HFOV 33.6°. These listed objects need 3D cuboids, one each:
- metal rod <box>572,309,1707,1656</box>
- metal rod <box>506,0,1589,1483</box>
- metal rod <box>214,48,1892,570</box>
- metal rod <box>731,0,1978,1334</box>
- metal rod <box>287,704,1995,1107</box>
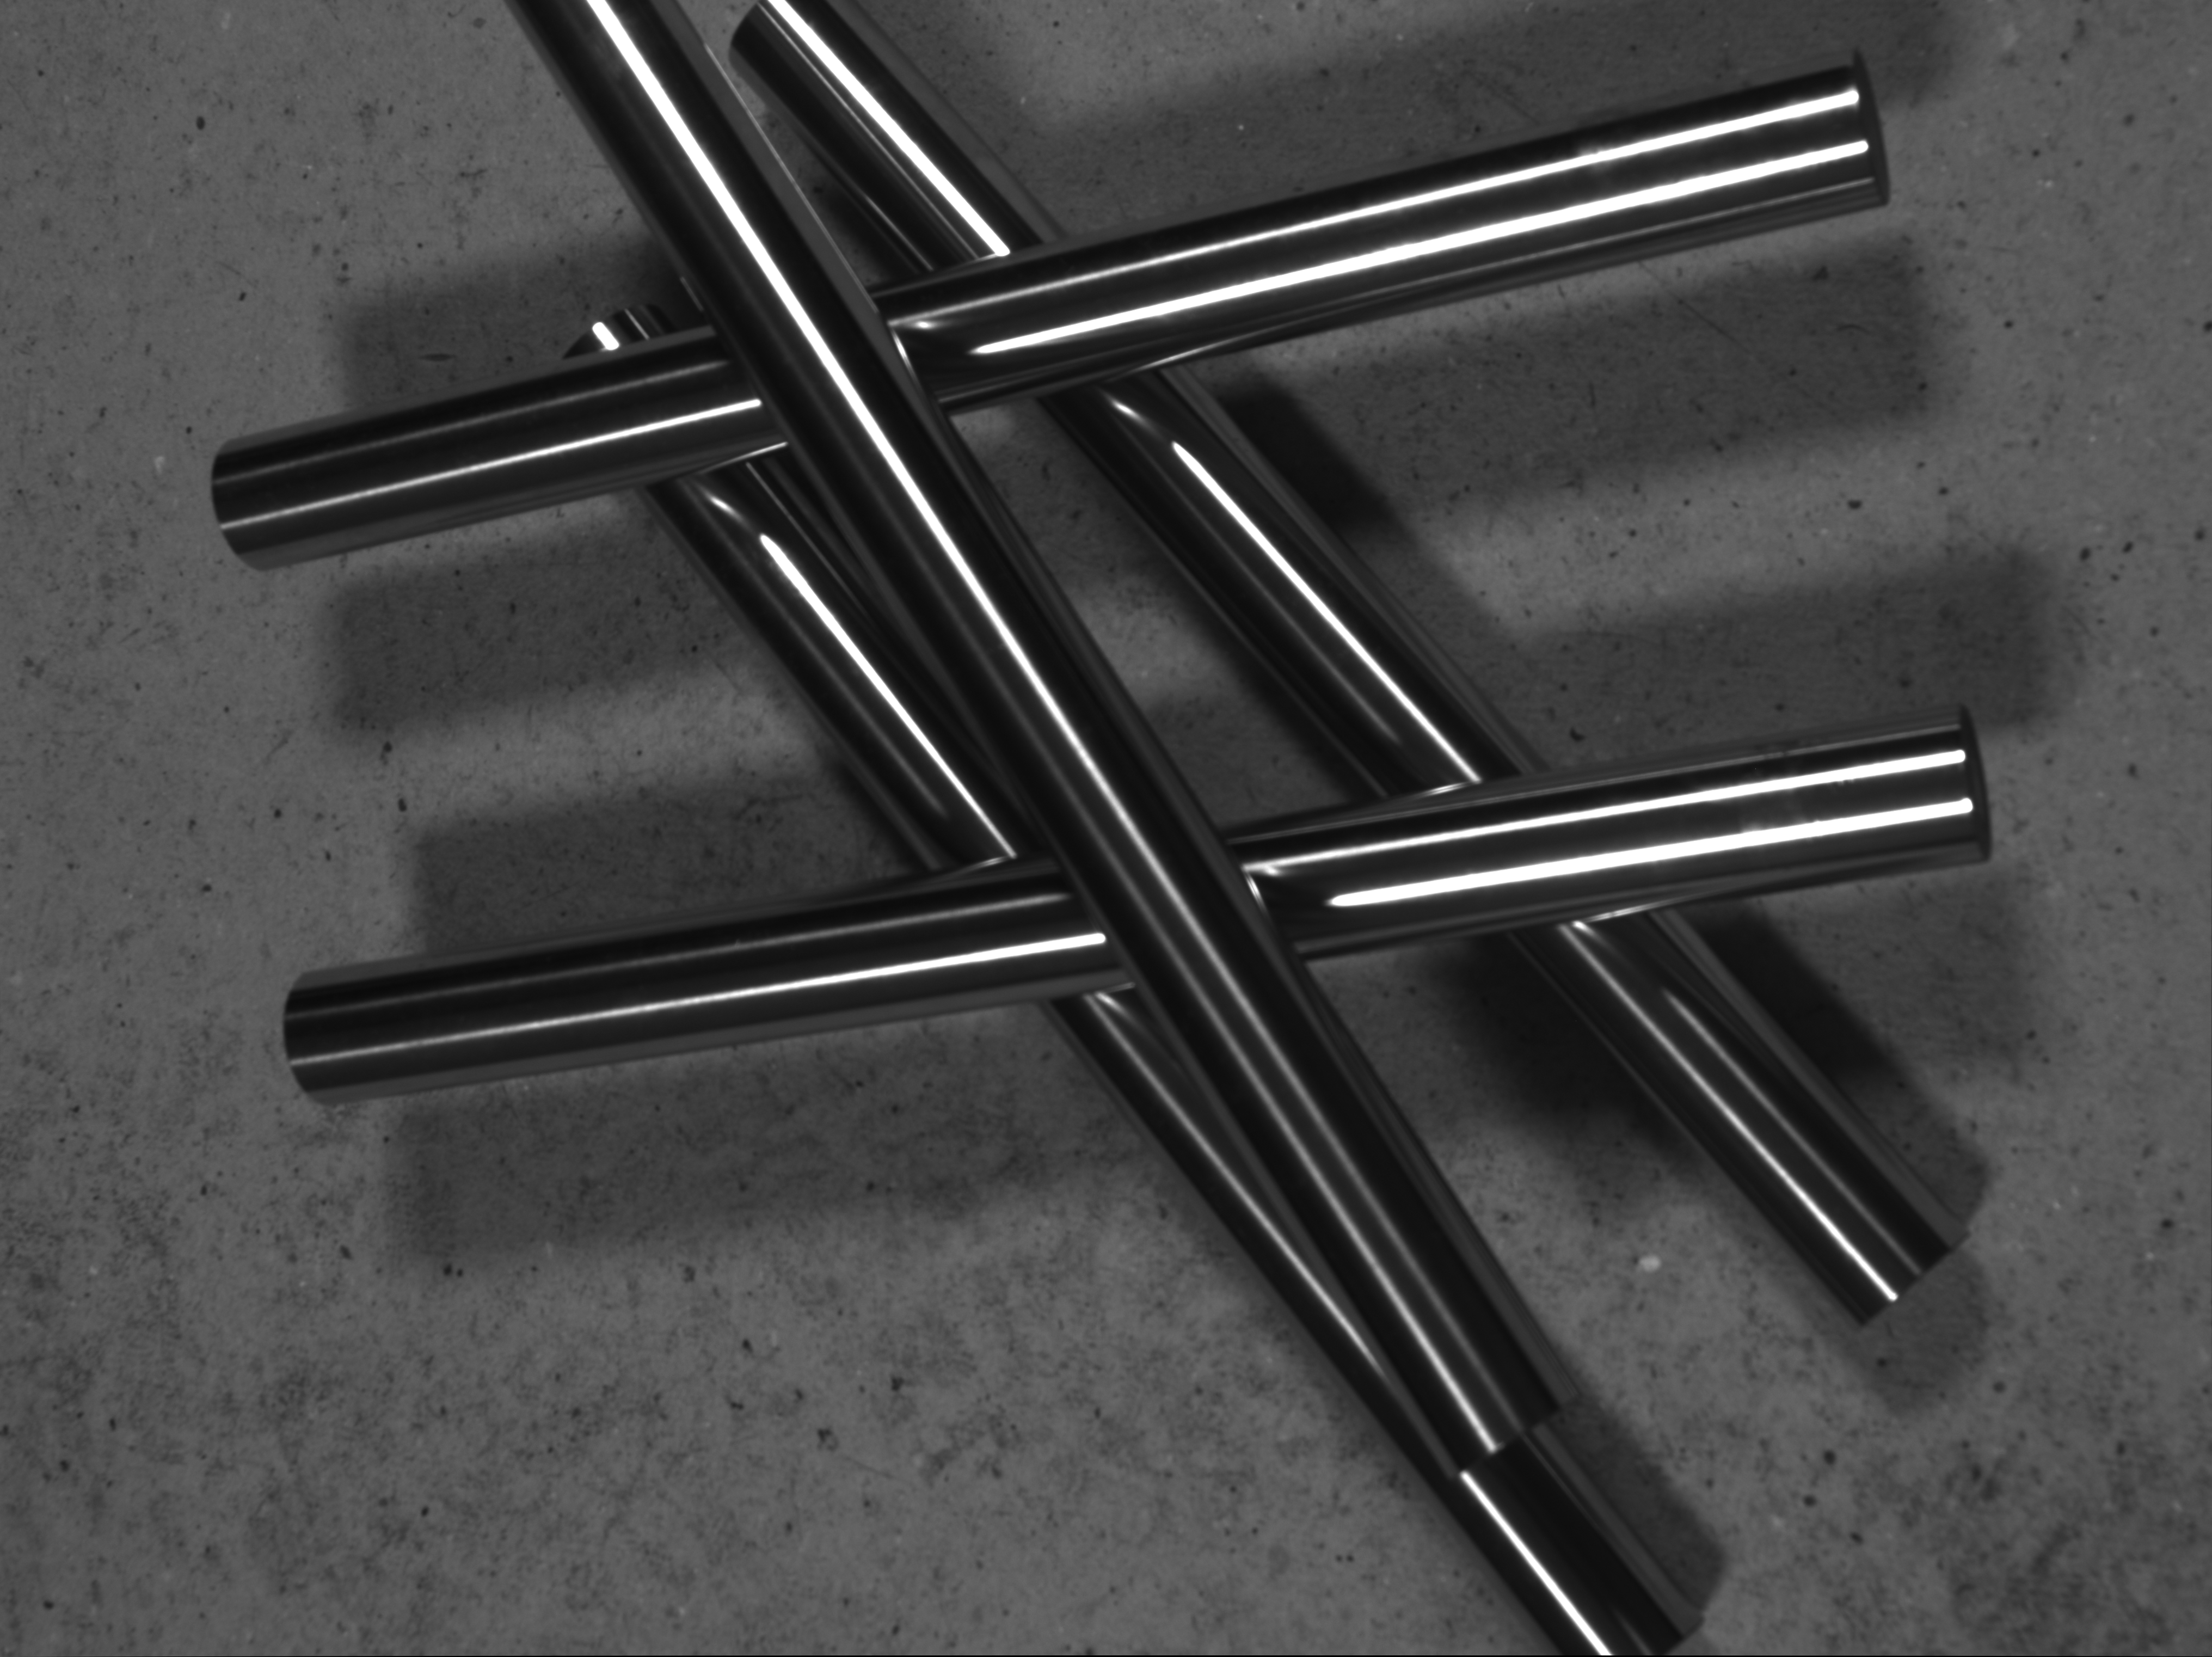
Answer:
[{"bbox_3d":[-0.001,0.027,0.644,0.025,0.025,0.300,-42,77,15],"label":"metal rod"},{"bbox_3d":[-0.015,-0.029,0.597,0.025,0.025,0.300,-36,79,16],"label":"metal rod"},{"bbox_3d":[-0.018,-0.085,0.625,0.300,0.025,0.025,-10,86,19],"label":"metal rod"},{"bbox_3d":[0.037,-0.036,0.631,0.025,0.025,0.300,-44,76,14],"label":"metal rod"},{"bbox_3d":[-0.003,0.016,0.619,0.300,0.025,0.025,-9,87,19],"label":"metal rod"}]
